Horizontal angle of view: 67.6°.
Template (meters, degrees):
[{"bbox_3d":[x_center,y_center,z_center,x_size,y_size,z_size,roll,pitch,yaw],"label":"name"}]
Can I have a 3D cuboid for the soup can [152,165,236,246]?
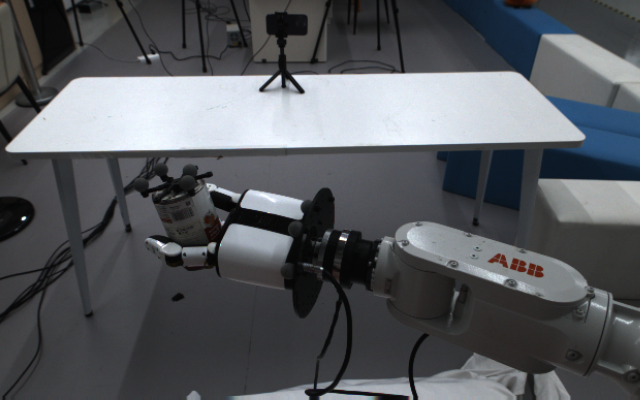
[{"bbox_3d":[-0.159,0.029,0.606,0.067,0.101,0.067,-11,27,6],"label":"soup can"}]
